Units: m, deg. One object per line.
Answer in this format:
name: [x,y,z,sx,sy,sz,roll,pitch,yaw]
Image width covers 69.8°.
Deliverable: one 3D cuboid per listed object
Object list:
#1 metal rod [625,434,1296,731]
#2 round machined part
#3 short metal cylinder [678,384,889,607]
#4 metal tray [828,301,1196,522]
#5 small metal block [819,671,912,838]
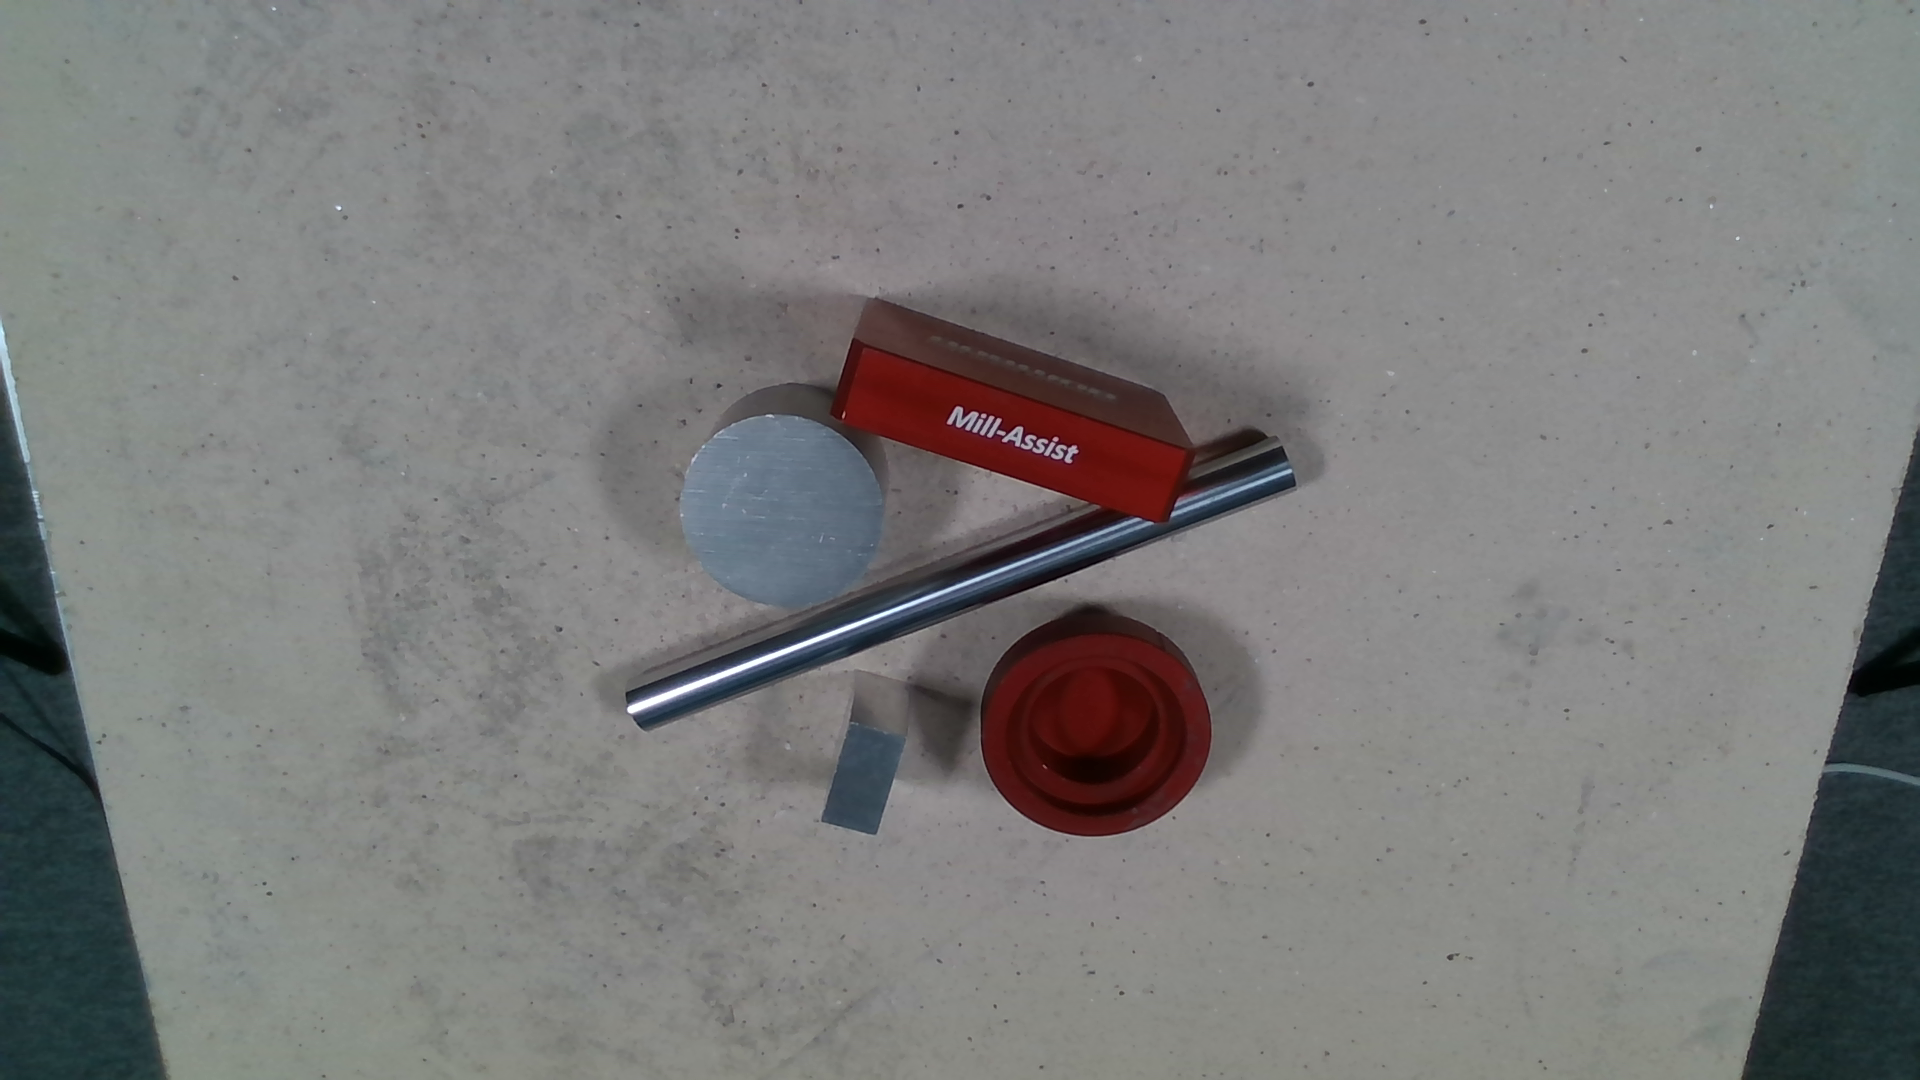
metal rod: [-0.004,0.020,0.593,0.300,0.025,0.025,-21,109,8]
round machined part: [0.058,0.077,0.604,0.098,0.042,0.098,0,110,0]
short metal cylinder: [-0.071,-0.019,0.564,0.080,0.050,0.080,0,110,0]
metal tray: [0.019,-0.052,0.531,0.130,0.090,0.030,17,109,-6]
small metal block: [-0.041,0.093,0.603,0.025,0.050,0.050,16,109,-6]
